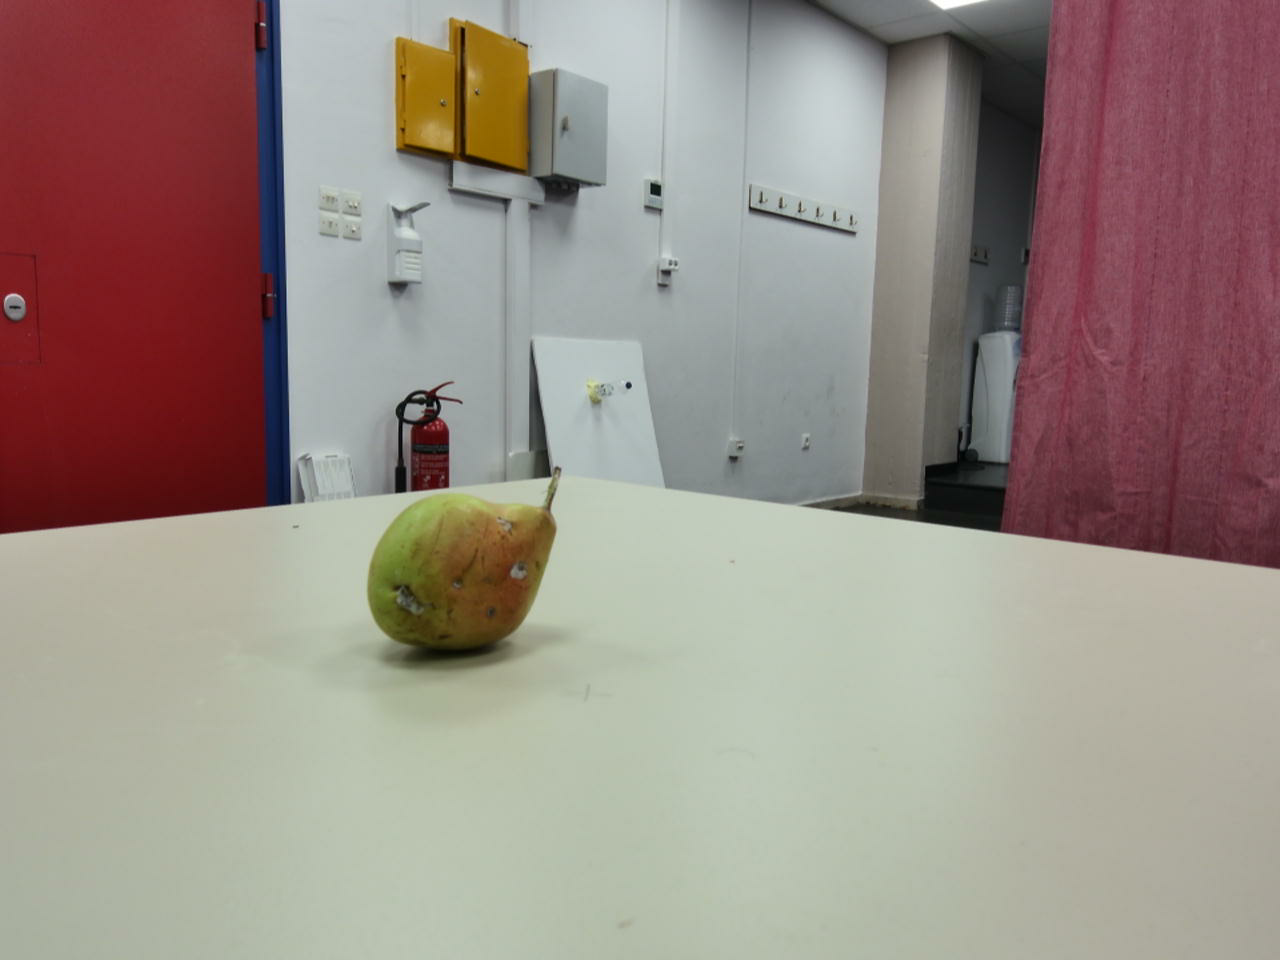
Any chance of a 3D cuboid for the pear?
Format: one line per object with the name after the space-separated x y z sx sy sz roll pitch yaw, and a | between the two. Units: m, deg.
-0.070 0.032 0.399 0.070 0.069 0.068 0 4 1 | pear
